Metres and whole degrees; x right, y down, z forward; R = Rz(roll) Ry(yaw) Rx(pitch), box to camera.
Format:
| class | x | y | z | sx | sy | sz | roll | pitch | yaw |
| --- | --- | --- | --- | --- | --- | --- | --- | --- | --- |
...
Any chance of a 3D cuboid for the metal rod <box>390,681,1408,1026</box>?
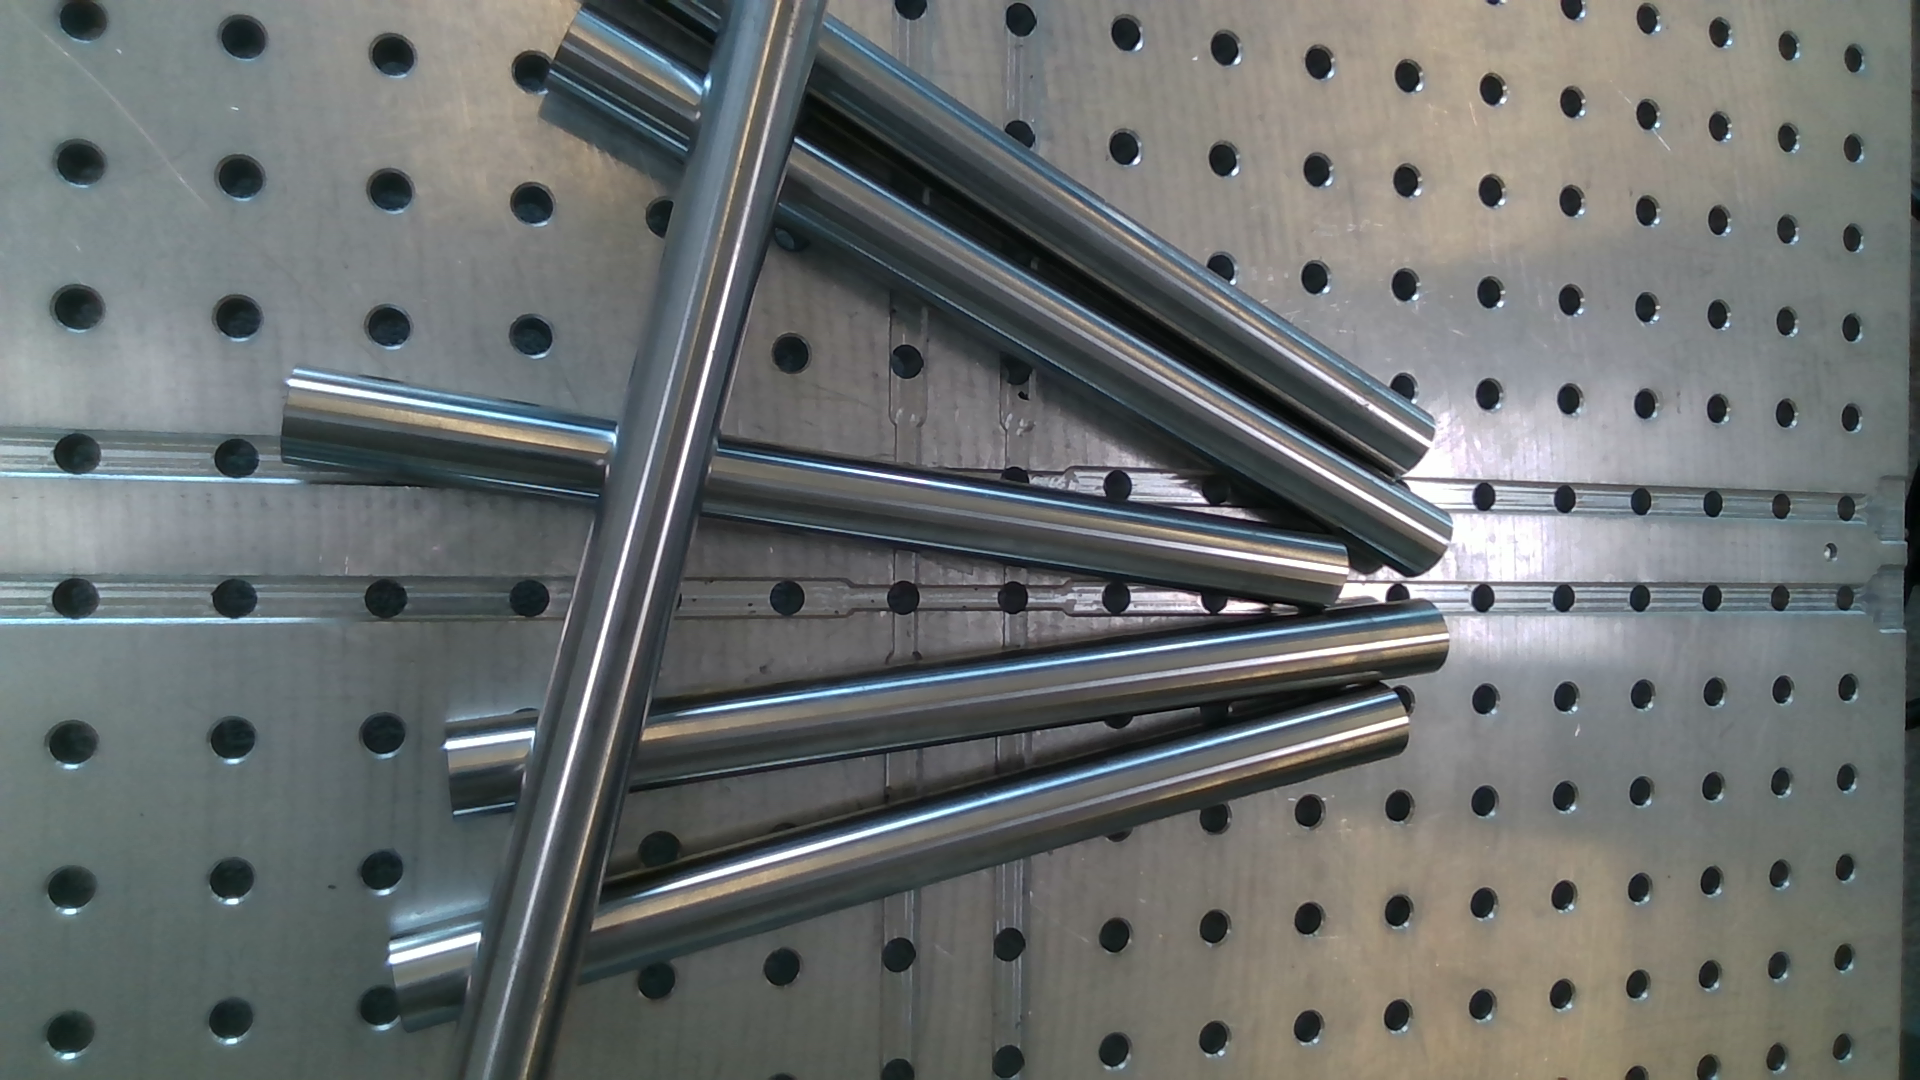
| class | x | y | z | sx | sy | sz | roll | pitch | yaw |
| --- | --- | --- | --- | --- | --- | --- | --- | --- | --- |
| metal rod | -0.002 | 0.083 | 0.396 | 0.300 | 0.025 | 0.025 | -11 | 94 | -20 |

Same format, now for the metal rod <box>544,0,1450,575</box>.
| class | x | y | z | sx | sy | sz | roll | pitch | yaw |
| --- | --- | --- | --- | --- | --- | --- | --- | --- | --- |
| metal rod | 0.024 | -0.064 | 0.405 | 0.300 | 0.025 | 0.025 | 27 | 81 | -18 |

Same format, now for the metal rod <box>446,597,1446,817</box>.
| class | x | y | z | sx | sy | sz | roll | pitch | yaw |
| --- | --- | --- | --- | --- | --- | --- | --- | --- | --- |
| metal rod | 0.011 | 0.044 | 0.401 | 0.300 | 0.025 | 0.025 | -5 | 92 | -20 |

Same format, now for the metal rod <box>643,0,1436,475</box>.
| class | x | y | z | sx | sy | sz | roll | pitch | yaw |
| --- | --- | --- | --- | --- | --- | --- | --- | --- | --- |
| metal rod | 0.020 | -0.101 | 0.403 | 0.300 | 0.025 | 0.025 | 29 | 80 | -18 |

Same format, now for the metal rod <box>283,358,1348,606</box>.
| class | x | y | z | sx | sy | sz | roll | pitch | yaw |
| --- | --- | --- | --- | --- | --- | --- | --- | --- | --- |
| metal rod | -0.024 | -0.011 | 0.388 | 0.300 | 0.025 | 0.025 | 8 | 87 | -20 |
